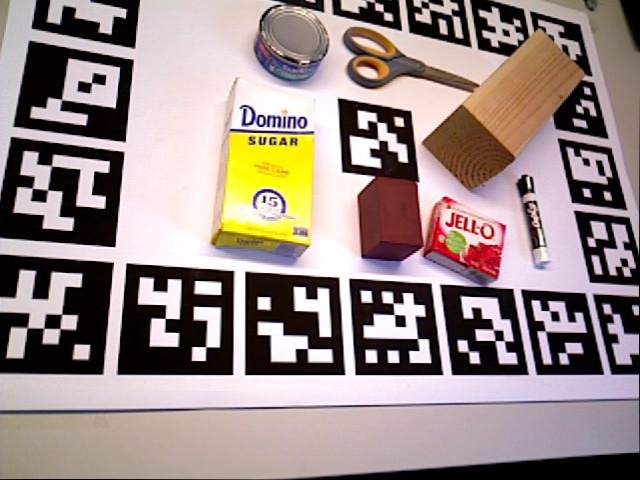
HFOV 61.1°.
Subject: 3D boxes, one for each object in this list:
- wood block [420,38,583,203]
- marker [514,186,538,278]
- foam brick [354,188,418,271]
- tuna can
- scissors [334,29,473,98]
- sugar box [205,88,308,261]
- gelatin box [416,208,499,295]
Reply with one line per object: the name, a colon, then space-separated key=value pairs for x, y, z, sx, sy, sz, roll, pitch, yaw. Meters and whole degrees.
wood block: x=0.234 y=-0.153 z=0.694 sx=0.090 sy=0.093 sz=0.202 roll=46 pitch=62 yaw=0
marker: x=0.262 y=-0.012 z=0.691 sx=0.019 sy=0.020 sz=0.120 roll=7 pitch=72 yaw=-19
foam brick: x=0.071 y=-0.010 z=0.598 sx=0.052 sy=0.052 sz=0.077 roll=7 pitch=70 yaw=-18
tuna can: x=-0.045 y=-0.226 z=0.639 sx=0.085 sy=0.034 sz=0.085 roll=6 pitch=71 yaw=-19
scissors: x=0.112 y=-0.213 z=0.707 sx=0.201 sy=0.016 sz=0.087 roll=12 pitch=68 yaw=-14
sugar box: x=-0.065 y=-0.069 z=0.576 sx=0.092 sy=0.046 sz=0.175 roll=10 pitch=69 yaw=-18
gelatin box: x=0.163 y=0.014 z=0.641 sx=0.089 sy=0.031 sz=0.072 roll=24 pitch=66 yaw=-11
